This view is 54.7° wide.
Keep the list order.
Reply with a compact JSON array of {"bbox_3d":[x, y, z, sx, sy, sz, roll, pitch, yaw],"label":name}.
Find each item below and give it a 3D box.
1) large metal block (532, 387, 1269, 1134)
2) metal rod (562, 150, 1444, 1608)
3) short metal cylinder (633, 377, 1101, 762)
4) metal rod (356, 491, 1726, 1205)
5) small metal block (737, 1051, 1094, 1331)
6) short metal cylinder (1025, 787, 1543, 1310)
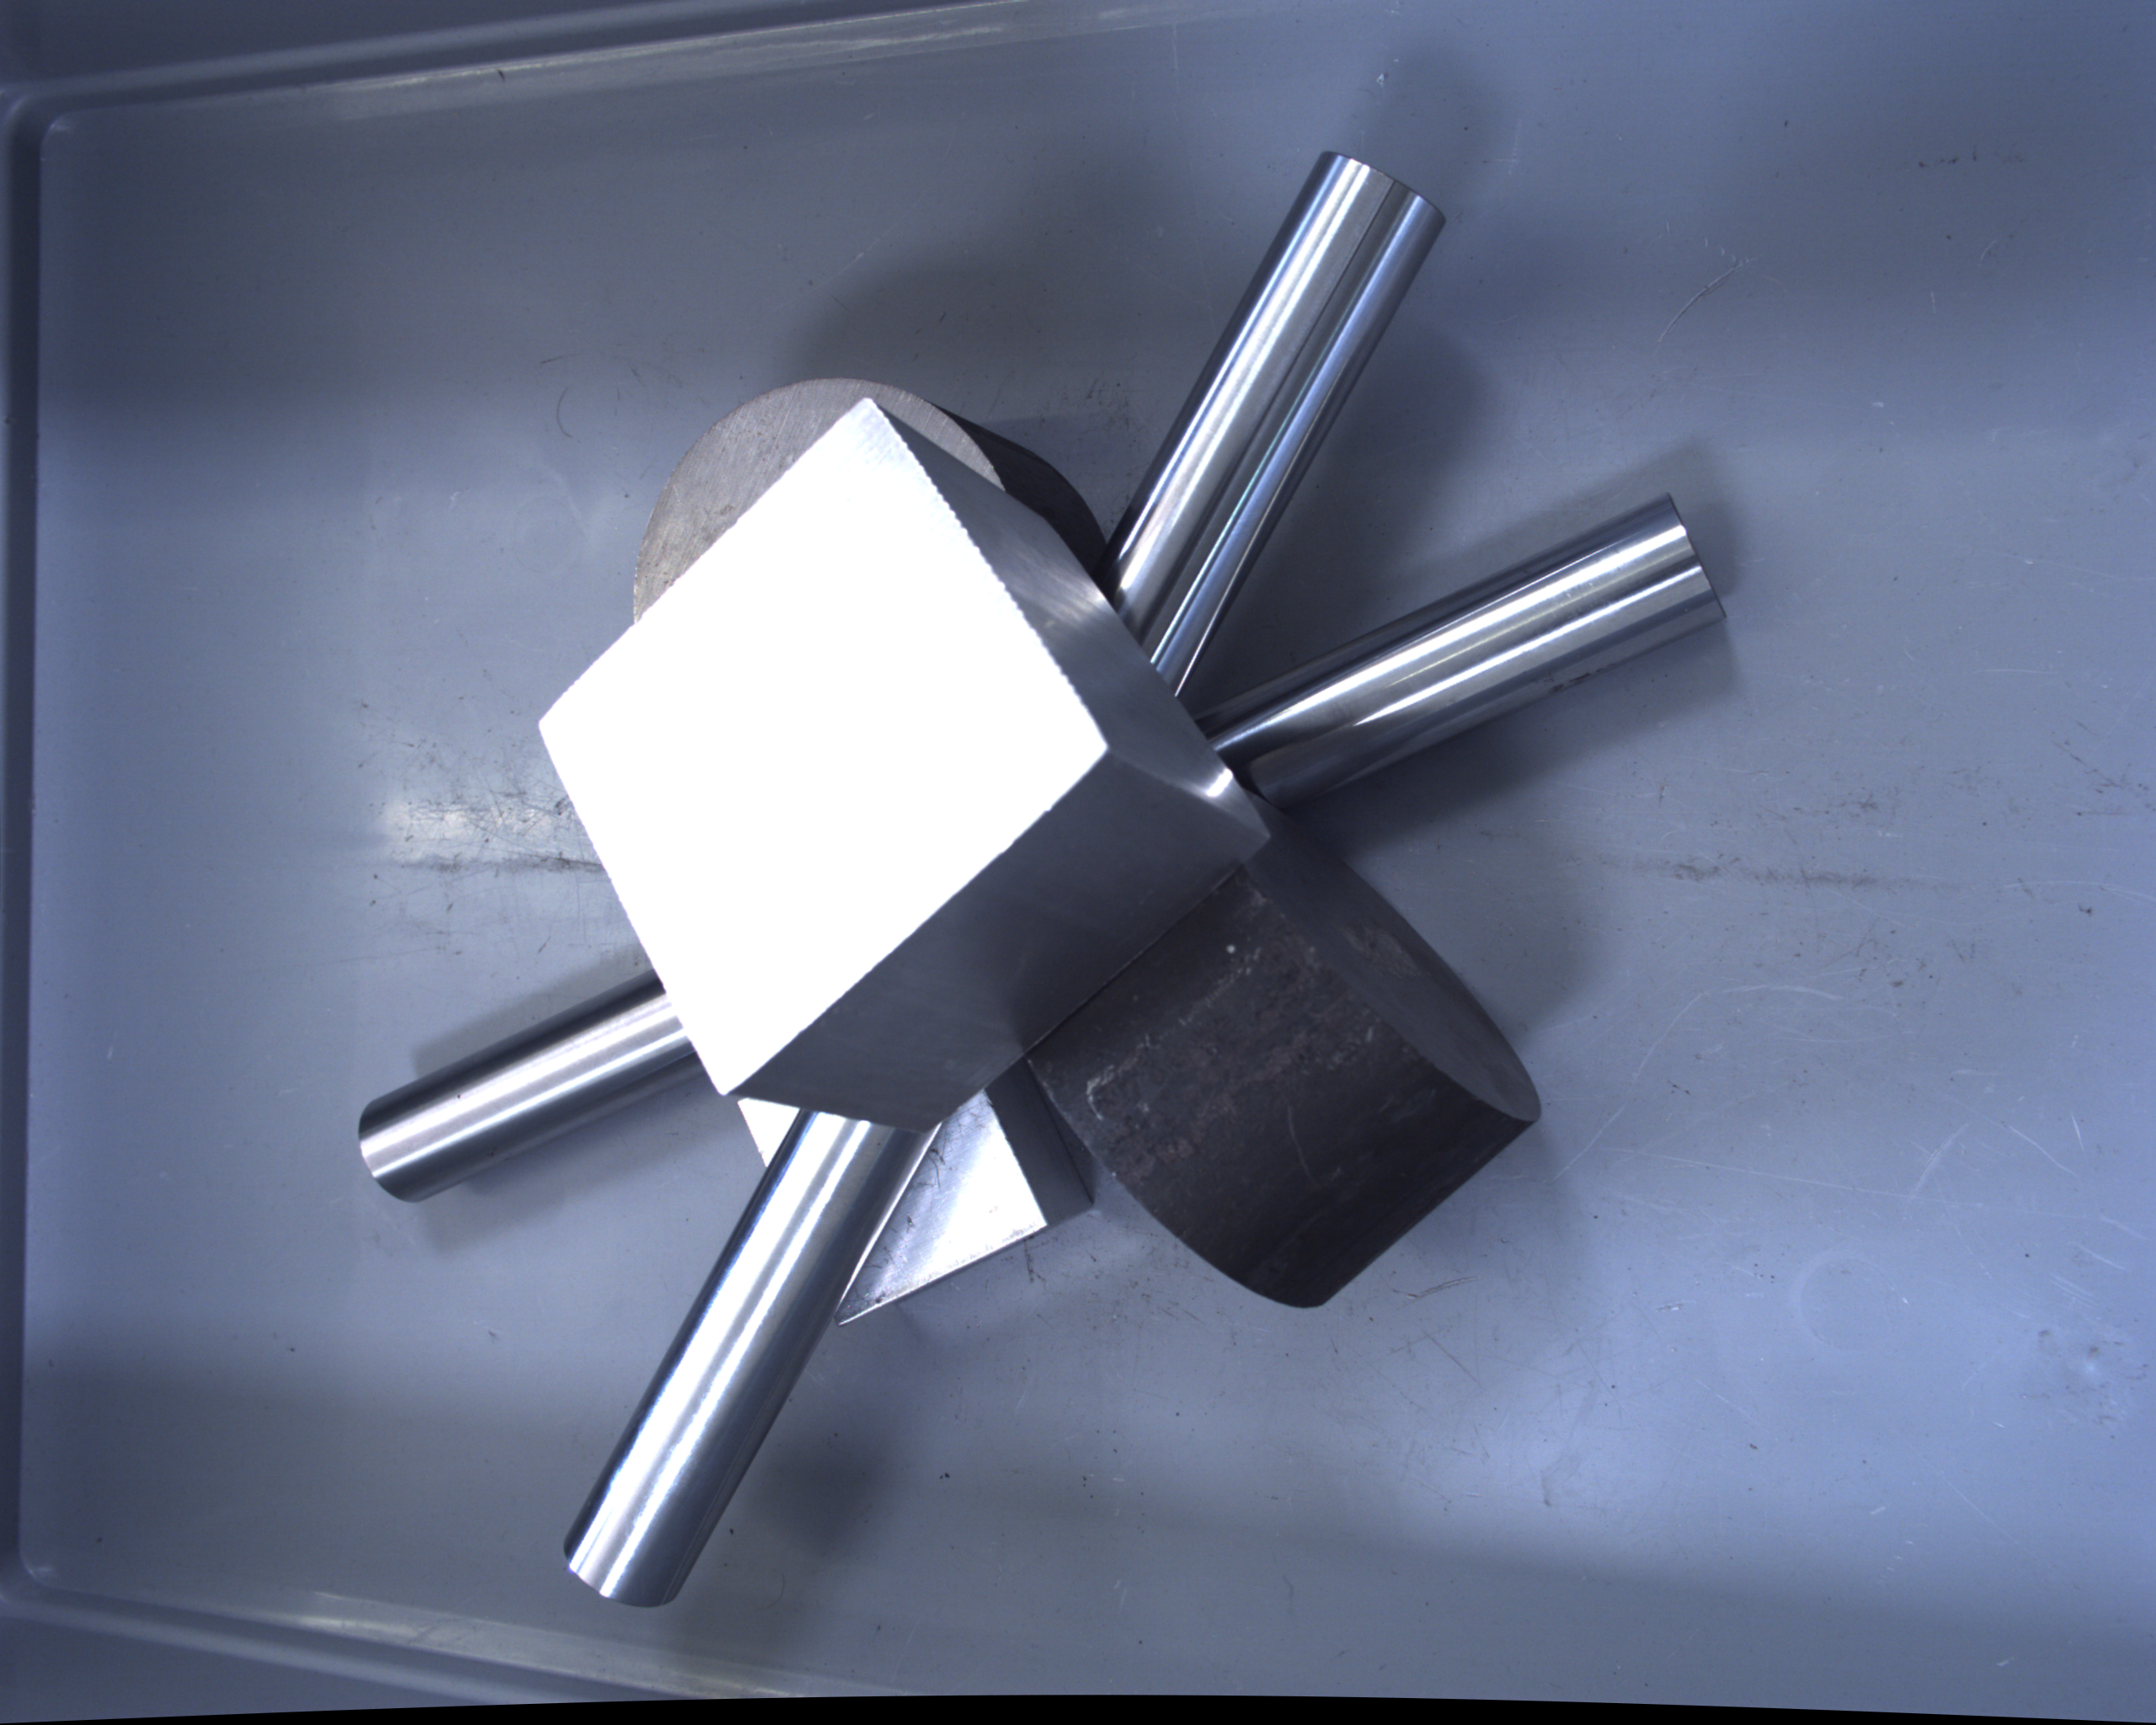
[{"bbox_3d":[-0.030,-0.014,0.339,0.080,0.050,0.080,-42,60,16],"label":"large metal block"},{"bbox_3d":[-0.019,0.010,0.389,0.025,0.025,0.299,32,100,17],"label":"metal rod"},{"bbox_3d":[-0.039,-0.050,0.409,0.080,0.050,0.079,0,90,20],"label":"short metal cylinder"},{"bbox_3d":[-0.020,0.005,0.416,0.300,0.025,0.025,-25,82,18],"label":"metal rod"},{"bbox_3d":[-0.033,0.059,0.420,0.050,0.025,0.050,-29,81,17],"label":"small metal block"},{"bbox_3d":[0.035,0.031,0.367,0.050,0.080,0.080,-45,76,15],"label":"short metal cylinder"}]
